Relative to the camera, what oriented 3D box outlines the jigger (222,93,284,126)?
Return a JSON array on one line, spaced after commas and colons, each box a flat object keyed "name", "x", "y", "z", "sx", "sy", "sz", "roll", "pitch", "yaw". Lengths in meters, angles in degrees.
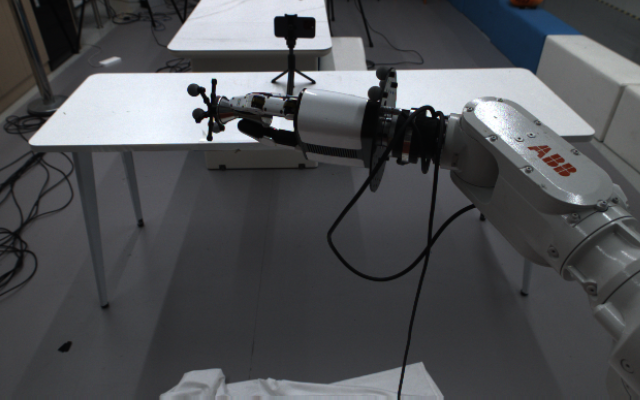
[{"name": "jigger", "x": -0.102, "y": -0.130, "z": 0.680, "sx": 0.071, "sy": 0.043, "sz": 0.043, "roll": 4, "pitch": 34, "yaw": 15}]
